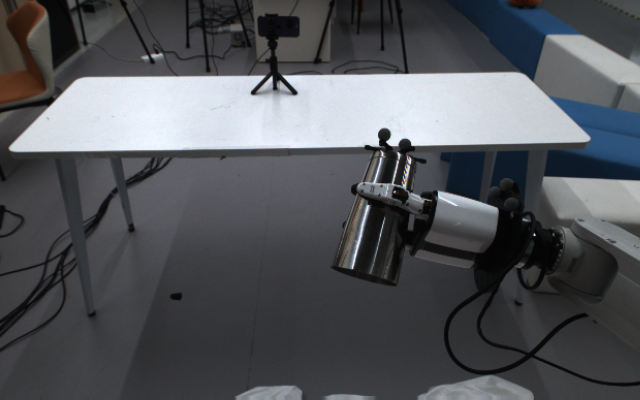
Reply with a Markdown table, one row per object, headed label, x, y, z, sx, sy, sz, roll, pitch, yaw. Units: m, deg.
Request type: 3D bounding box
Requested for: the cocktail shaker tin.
| label | x | y | z | sx | sy | sz | roll | pitch | yaw |
| --- | --- | --- | --- | --- | --- | --- | --- | --- | --- |
| cocktail shaker tin | 0.082 | 0.022 | 0.660 | 0.093 | 0.093 | 0.170 | 13 | 76 | 15 |
